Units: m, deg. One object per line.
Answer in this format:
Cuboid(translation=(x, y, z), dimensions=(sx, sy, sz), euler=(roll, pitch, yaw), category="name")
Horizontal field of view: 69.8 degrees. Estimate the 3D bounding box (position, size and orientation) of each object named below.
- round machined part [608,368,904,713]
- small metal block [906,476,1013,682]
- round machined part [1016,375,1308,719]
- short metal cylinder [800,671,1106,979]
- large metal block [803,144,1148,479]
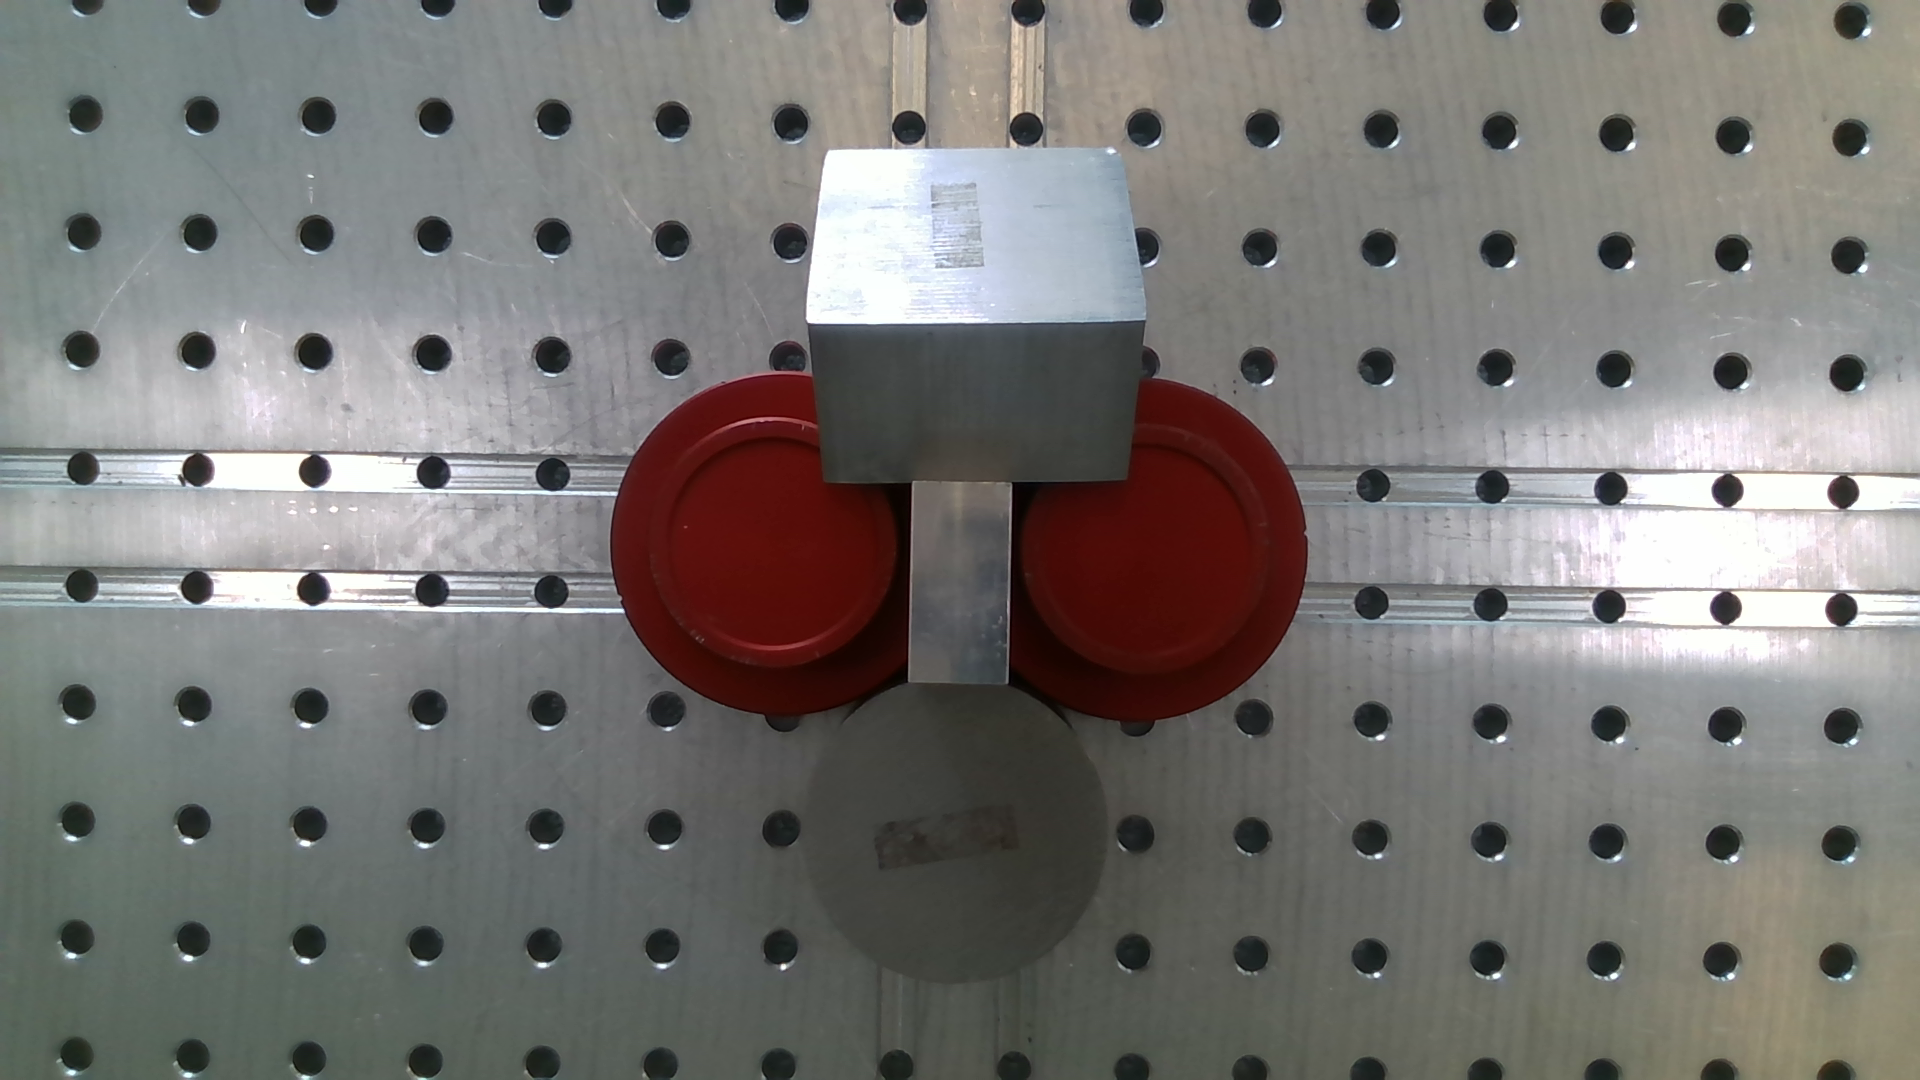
Cuboid(translation=(-0.051, 0.000, 0.390), dimensions=(0.098, 0.042, 0.098), euler=(0, 90, 0), category="round machined part")
Cuboid(translation=(0.000, 0.010, 0.363), dimensions=(0.025, 0.050, 0.050), euler=(1, 90, 0), category="small metal block")
Cuboid(translation=(0.050, 0.002, 0.390), dimensions=(0.098, 0.042, 0.098), euler=(0, 90, 0), category="round machined part")
Cuboid(translation=(-0.002, 0.075, 0.385), dimensions=(0.080, 0.050, 0.080), euler=(0, 90, 0), category="short metal cylinder")
Cuboid(translation=(0.004, -0.062, 0.364), dimensions=(0.080, 0.080, 0.050), euler=(-1, 134, 0), category="large metal block")
